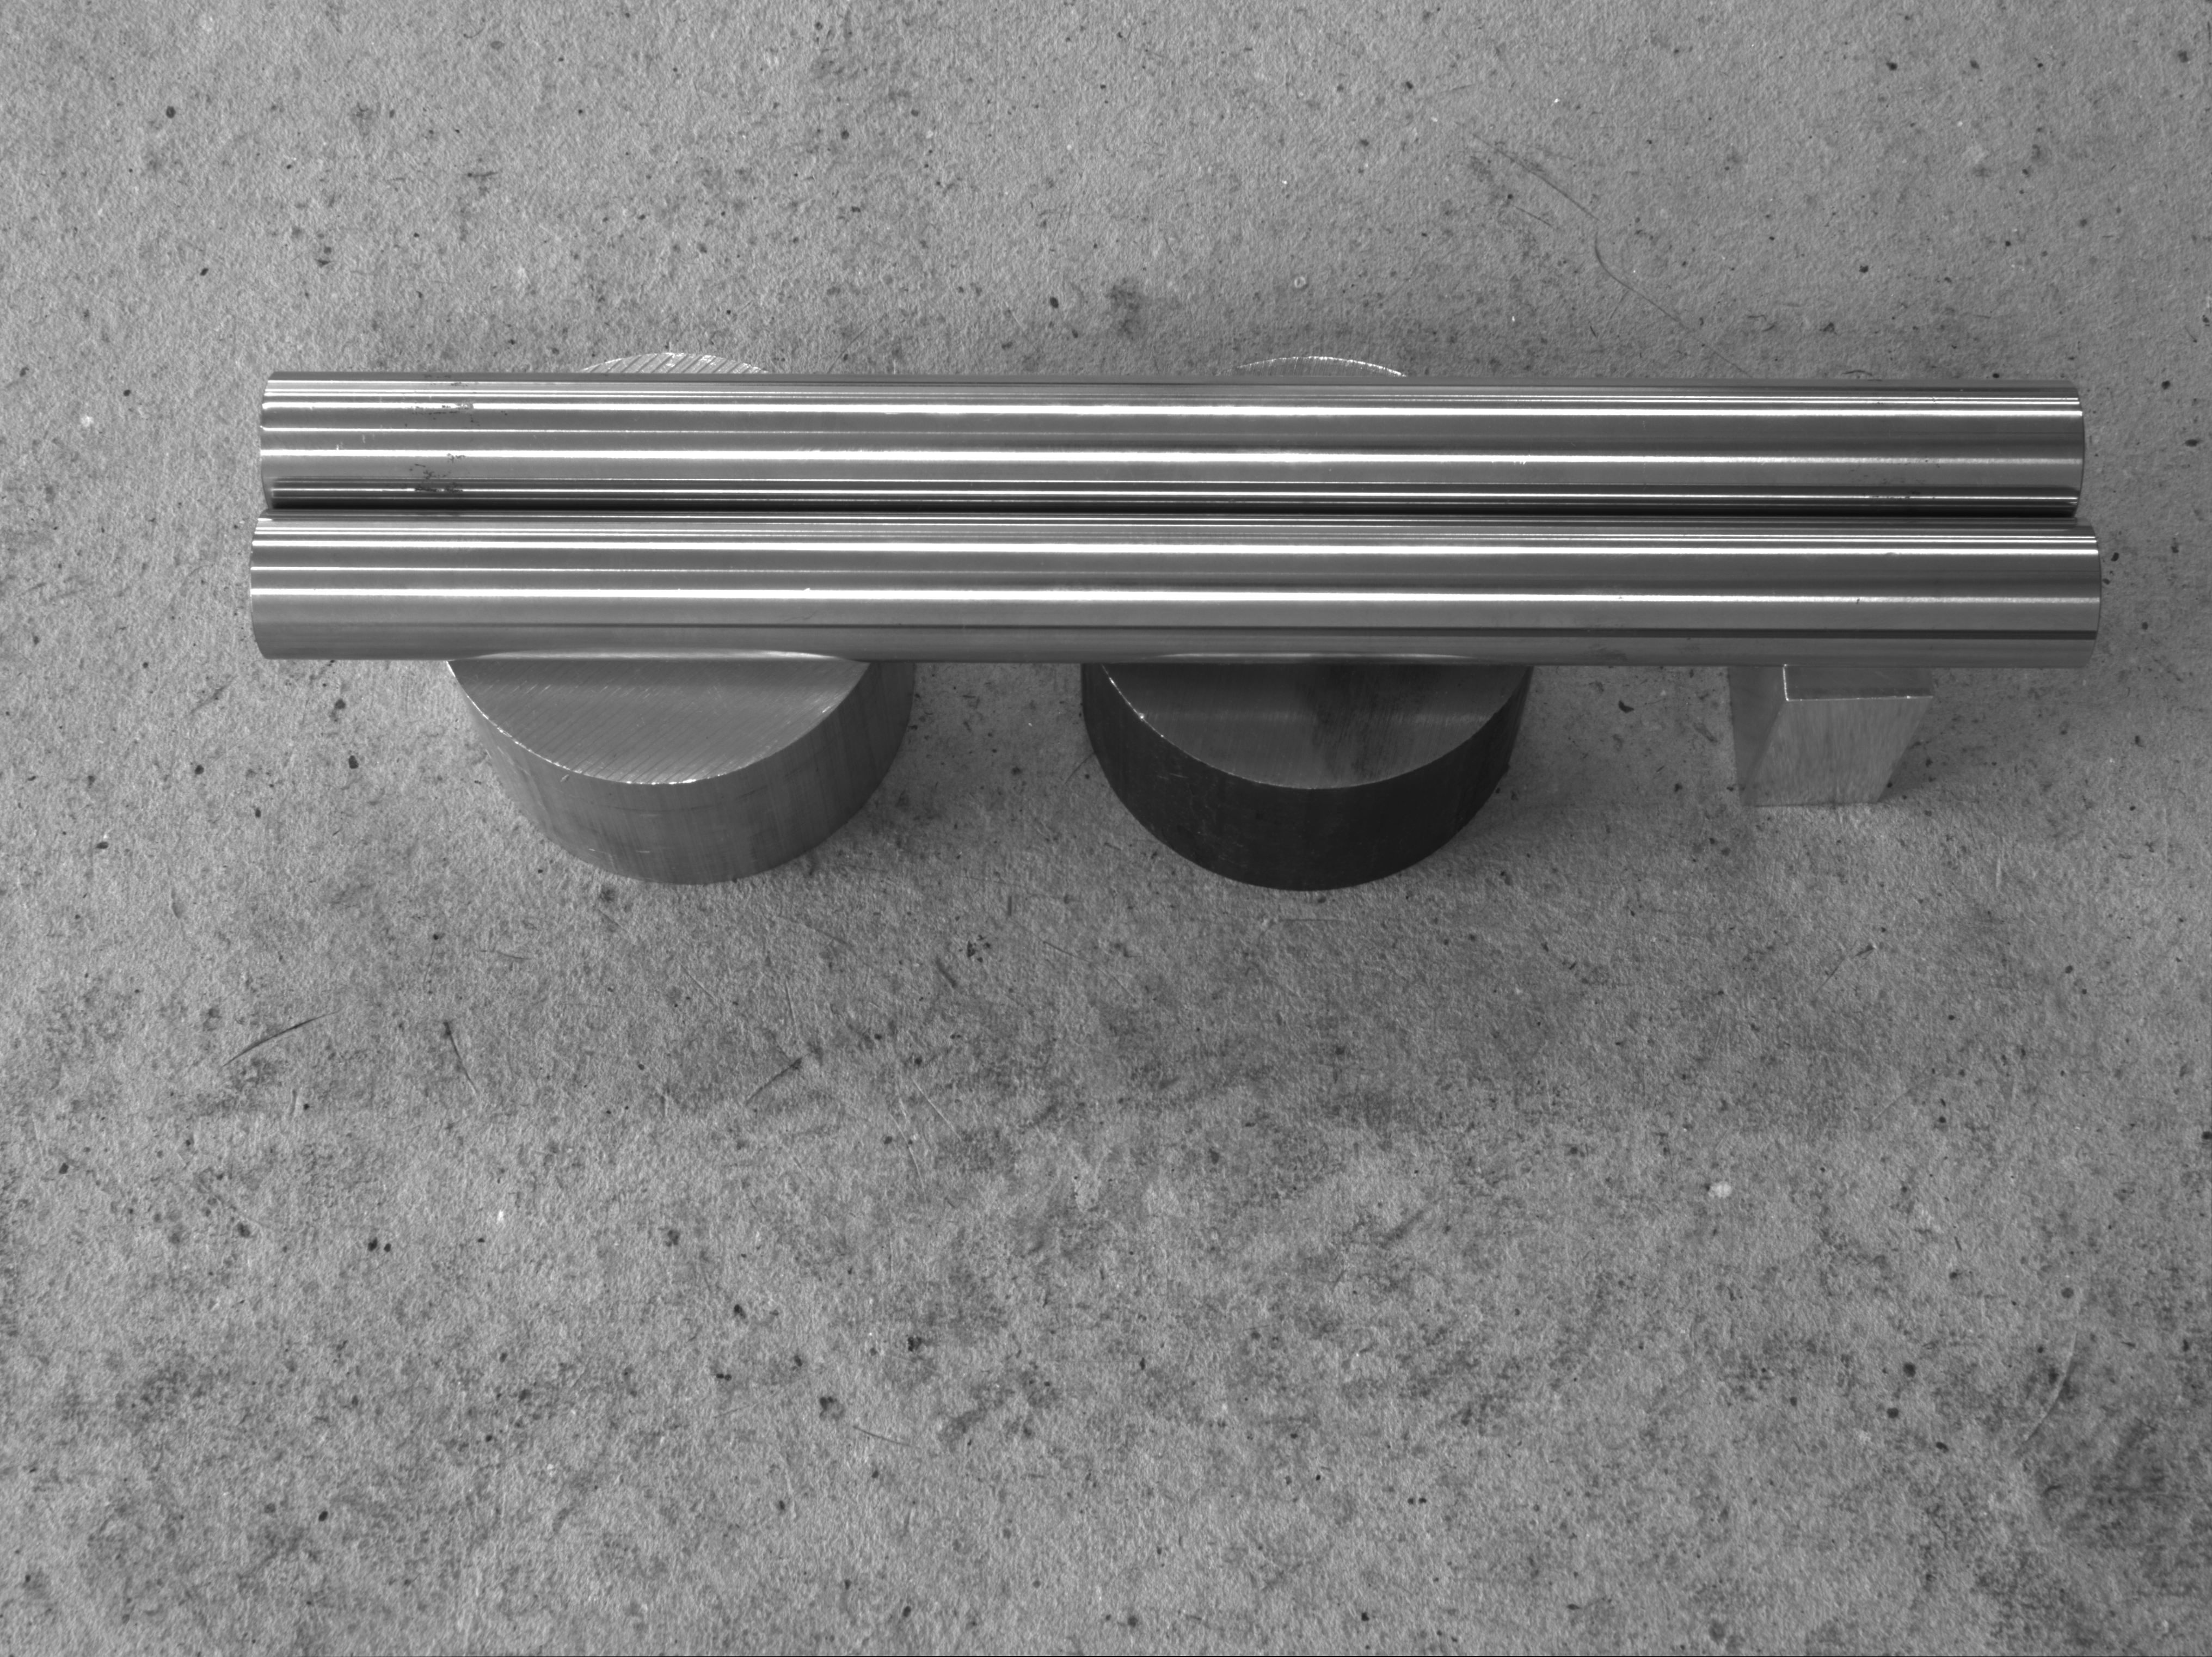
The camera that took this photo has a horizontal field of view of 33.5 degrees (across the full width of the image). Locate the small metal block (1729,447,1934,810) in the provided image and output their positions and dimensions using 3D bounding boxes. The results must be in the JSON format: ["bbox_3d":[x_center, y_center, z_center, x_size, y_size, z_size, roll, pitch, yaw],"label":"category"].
[{"bbox_3d":[0.126,-0.036,0.647,0.025,0.050,0.050,-1,69,0],"label":"small metal block"}]

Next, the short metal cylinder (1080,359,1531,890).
[{"bbox_3d":[0.035,-0.035,0.646,0.080,0.050,0.080,0,70,0],"label":"short metal cylinder"}]

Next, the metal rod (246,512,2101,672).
[{"bbox_3d":[0.011,-0.039,0.606,0.300,0.025,0.025,0,70,0],"label":"metal rod"}]

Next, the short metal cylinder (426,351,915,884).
[{"bbox_3d":[-0.075,-0.036,0.645,0.080,0.050,0.080,0,70,0],"label":"short metal cylinder"}]

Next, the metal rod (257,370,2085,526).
[{"bbox_3d":[0.011,-0.064,0.615,0.300,0.025,0.025,0,70,0],"label":"metal rod"}]
